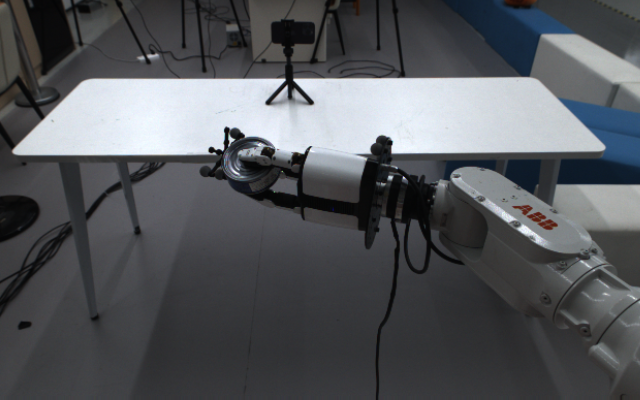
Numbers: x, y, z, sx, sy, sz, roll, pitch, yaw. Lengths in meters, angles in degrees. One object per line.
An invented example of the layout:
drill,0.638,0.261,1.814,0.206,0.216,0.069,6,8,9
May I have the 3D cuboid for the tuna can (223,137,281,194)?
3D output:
tuna can,-0.102,-0.054,0.727,0.085,0.034,0.085,-3,59,5
